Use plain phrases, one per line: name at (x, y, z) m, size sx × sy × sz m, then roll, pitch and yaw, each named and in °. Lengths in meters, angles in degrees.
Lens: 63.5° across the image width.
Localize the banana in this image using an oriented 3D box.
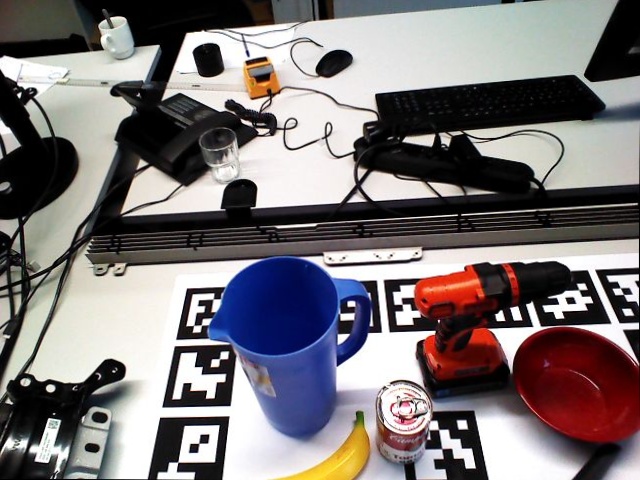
banana at (-0.014, 0.284, 0.633) m, size 0.197 × 0.039 × 0.074 m, roll -22°, pitch 41°, yaw -14°

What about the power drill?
power drill at (0.217, 0.095, 0.640) m, size 0.185 × 0.187 × 0.057 m, roll -7°, pitch 48°, yaw 1°

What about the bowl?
bowl at (0.334, 0.186, 0.655) m, size 0.162 × 0.055 × 0.160 m, roll -4°, pitch 50°, yaw 5°

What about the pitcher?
pitcher at (-0.022, 0.131, 0.629) m, size 0.188 × 0.243 × 0.133 m, roll -22°, pitch 46°, yaw -12°

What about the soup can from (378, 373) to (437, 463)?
soup can at (0.106, 0.217, 0.632) m, size 0.068 × 0.102 × 0.067 m, roll -5°, pitch 40°, yaw 4°

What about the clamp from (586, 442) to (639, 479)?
clamp at (0.276, 0.310, 0.558) m, size 0.203 × 0.037 × 0.164 m, roll -6°, pitch 52°, yaw 3°
